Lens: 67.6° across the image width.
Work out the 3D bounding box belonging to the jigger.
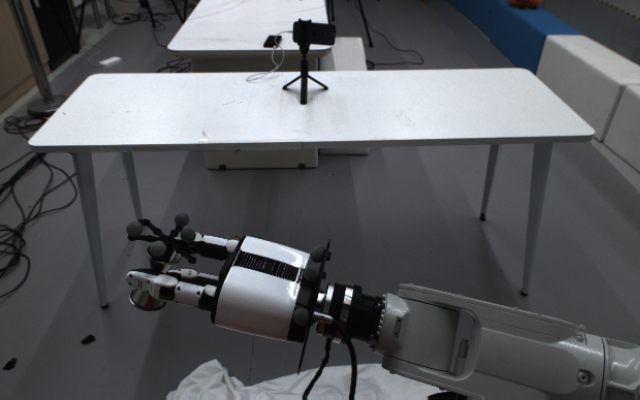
[{"bbox_3d":[-0.192,0.090,0.568,0.043,0.071,0.043,22,19,-8],"label":"jigger"}]
